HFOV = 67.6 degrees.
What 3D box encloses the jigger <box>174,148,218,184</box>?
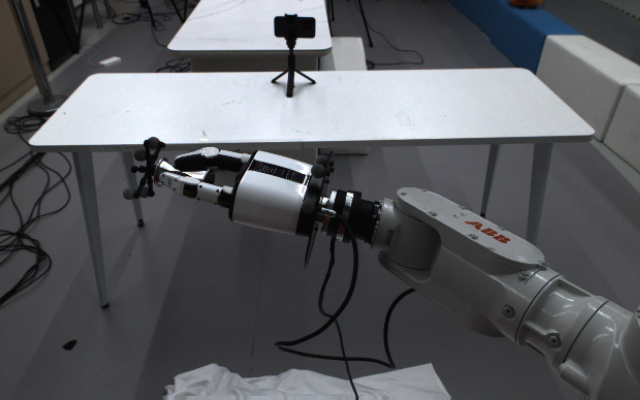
[{"bbox_3d":[-0.174,-0.031,0.646,0.071,0.043,0.043,13,36,5],"label":"jigger"}]
